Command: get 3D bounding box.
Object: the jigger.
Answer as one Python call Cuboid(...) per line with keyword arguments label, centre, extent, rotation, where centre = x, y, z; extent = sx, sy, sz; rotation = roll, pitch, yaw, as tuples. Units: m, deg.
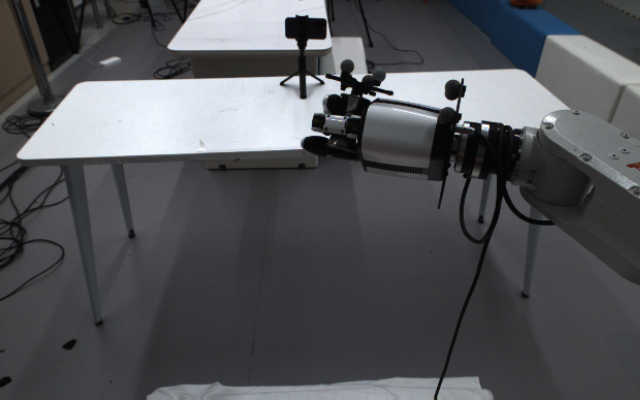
Cuboid(label="jigger", centre=(0.037, -0.098, 0.620), extent=(0.043, 0.071, 0.043), rotation=(17, 2, -1))
